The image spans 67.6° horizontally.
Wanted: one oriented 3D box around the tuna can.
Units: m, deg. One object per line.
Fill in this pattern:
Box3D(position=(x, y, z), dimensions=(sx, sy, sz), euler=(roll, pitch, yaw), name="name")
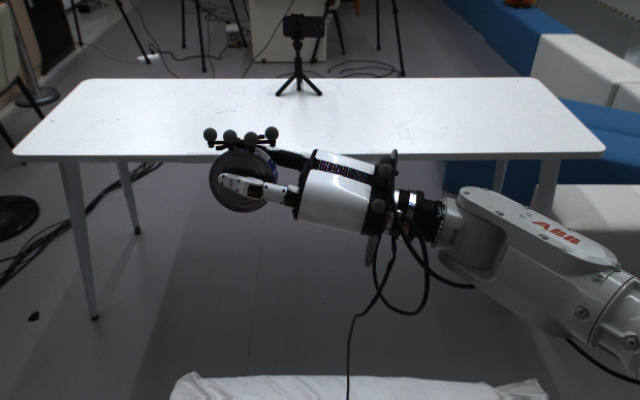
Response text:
Box3D(position=(-0.095, -0.028, 0.636), dimensions=(0.085, 0.085, 0.034), euler=(4, 18, 3), name="tuna can")
